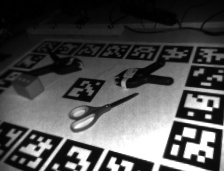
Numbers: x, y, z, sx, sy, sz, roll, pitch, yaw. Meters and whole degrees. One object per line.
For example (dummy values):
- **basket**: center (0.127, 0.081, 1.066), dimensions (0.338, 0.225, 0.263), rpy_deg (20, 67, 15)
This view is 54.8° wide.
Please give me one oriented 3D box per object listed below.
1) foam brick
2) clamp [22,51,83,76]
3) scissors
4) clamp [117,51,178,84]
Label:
- **foam brick**: center (-0.262, 0.007, 0.687), dimensions (0.077, 0.052, 0.053), rpy_deg (7, 45, 32)
- **clamp**: center (-0.196, -0.077, 0.775), dimensions (0.201, 0.037, 0.165), rpy_deg (3, 39, 20)
- **scissors**: center (-0.010, 0.048, 0.575), dimensions (0.204, 0.016, 0.086), rpy_deg (-27, 48, -17)
- **clamp**: center (0.098, -0.044, 0.647), dimensions (0.165, 0.037, 0.121), rpy_deg (-14, 46, 2)
